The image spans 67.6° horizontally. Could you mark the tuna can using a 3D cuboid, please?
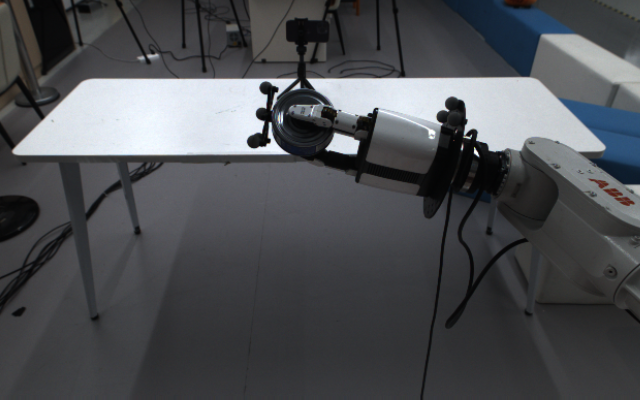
[{"bbox_3d":[-0.020,-0.104,0.643,0.085,0.034,0.085,2,73,-5],"label":"tuna can"}]
